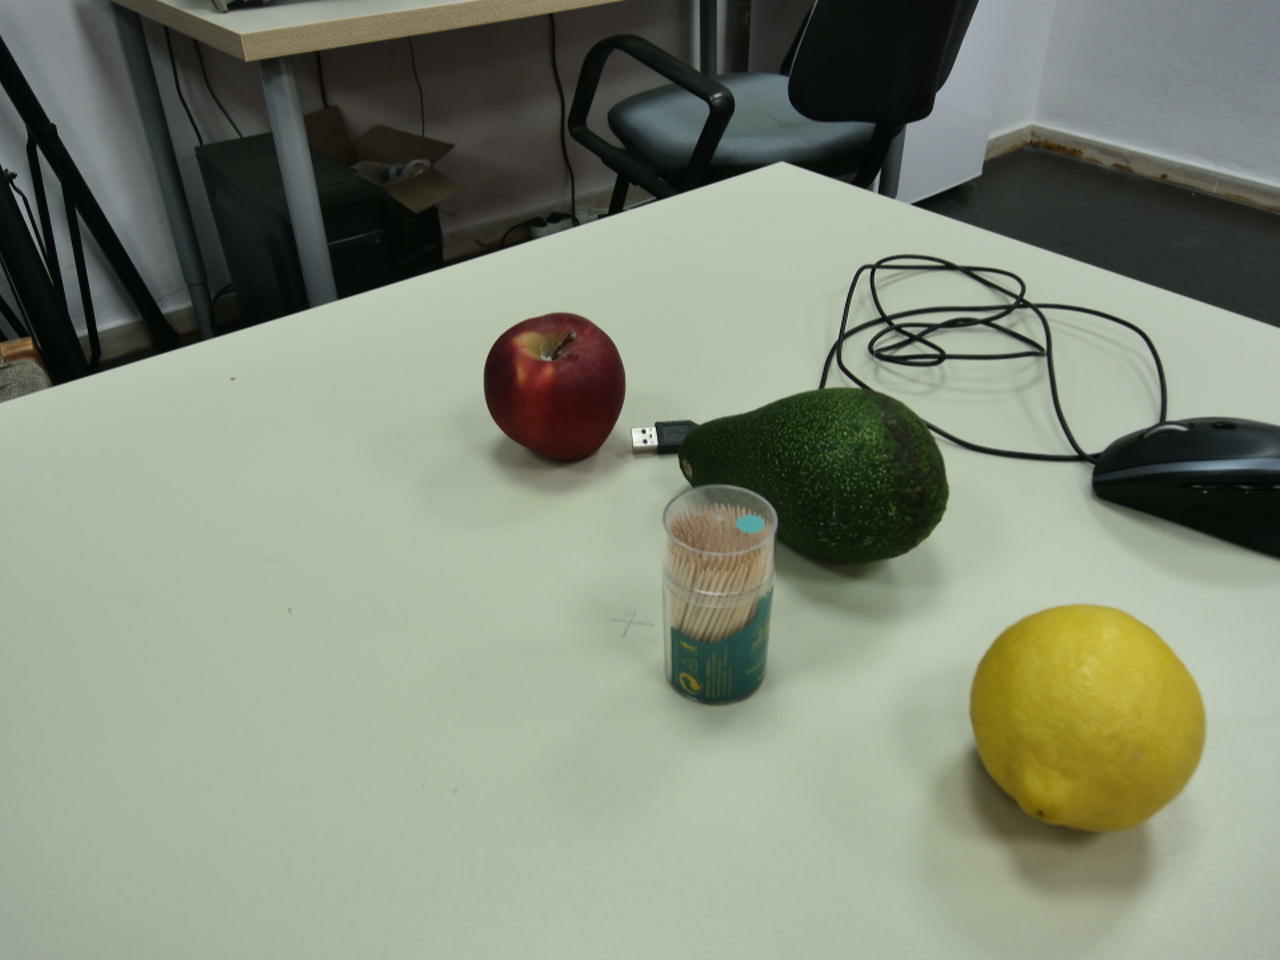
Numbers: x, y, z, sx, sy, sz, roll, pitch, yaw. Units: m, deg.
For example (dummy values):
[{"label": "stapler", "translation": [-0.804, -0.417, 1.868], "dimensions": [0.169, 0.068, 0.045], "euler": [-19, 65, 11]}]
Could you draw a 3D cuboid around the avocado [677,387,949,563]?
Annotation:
[{"label": "avocado", "translation": [0.077, -0.009, 0.429], "dimensions": [0.074, 0.076, 0.123], "euler": [-20, 39, -25]}]
